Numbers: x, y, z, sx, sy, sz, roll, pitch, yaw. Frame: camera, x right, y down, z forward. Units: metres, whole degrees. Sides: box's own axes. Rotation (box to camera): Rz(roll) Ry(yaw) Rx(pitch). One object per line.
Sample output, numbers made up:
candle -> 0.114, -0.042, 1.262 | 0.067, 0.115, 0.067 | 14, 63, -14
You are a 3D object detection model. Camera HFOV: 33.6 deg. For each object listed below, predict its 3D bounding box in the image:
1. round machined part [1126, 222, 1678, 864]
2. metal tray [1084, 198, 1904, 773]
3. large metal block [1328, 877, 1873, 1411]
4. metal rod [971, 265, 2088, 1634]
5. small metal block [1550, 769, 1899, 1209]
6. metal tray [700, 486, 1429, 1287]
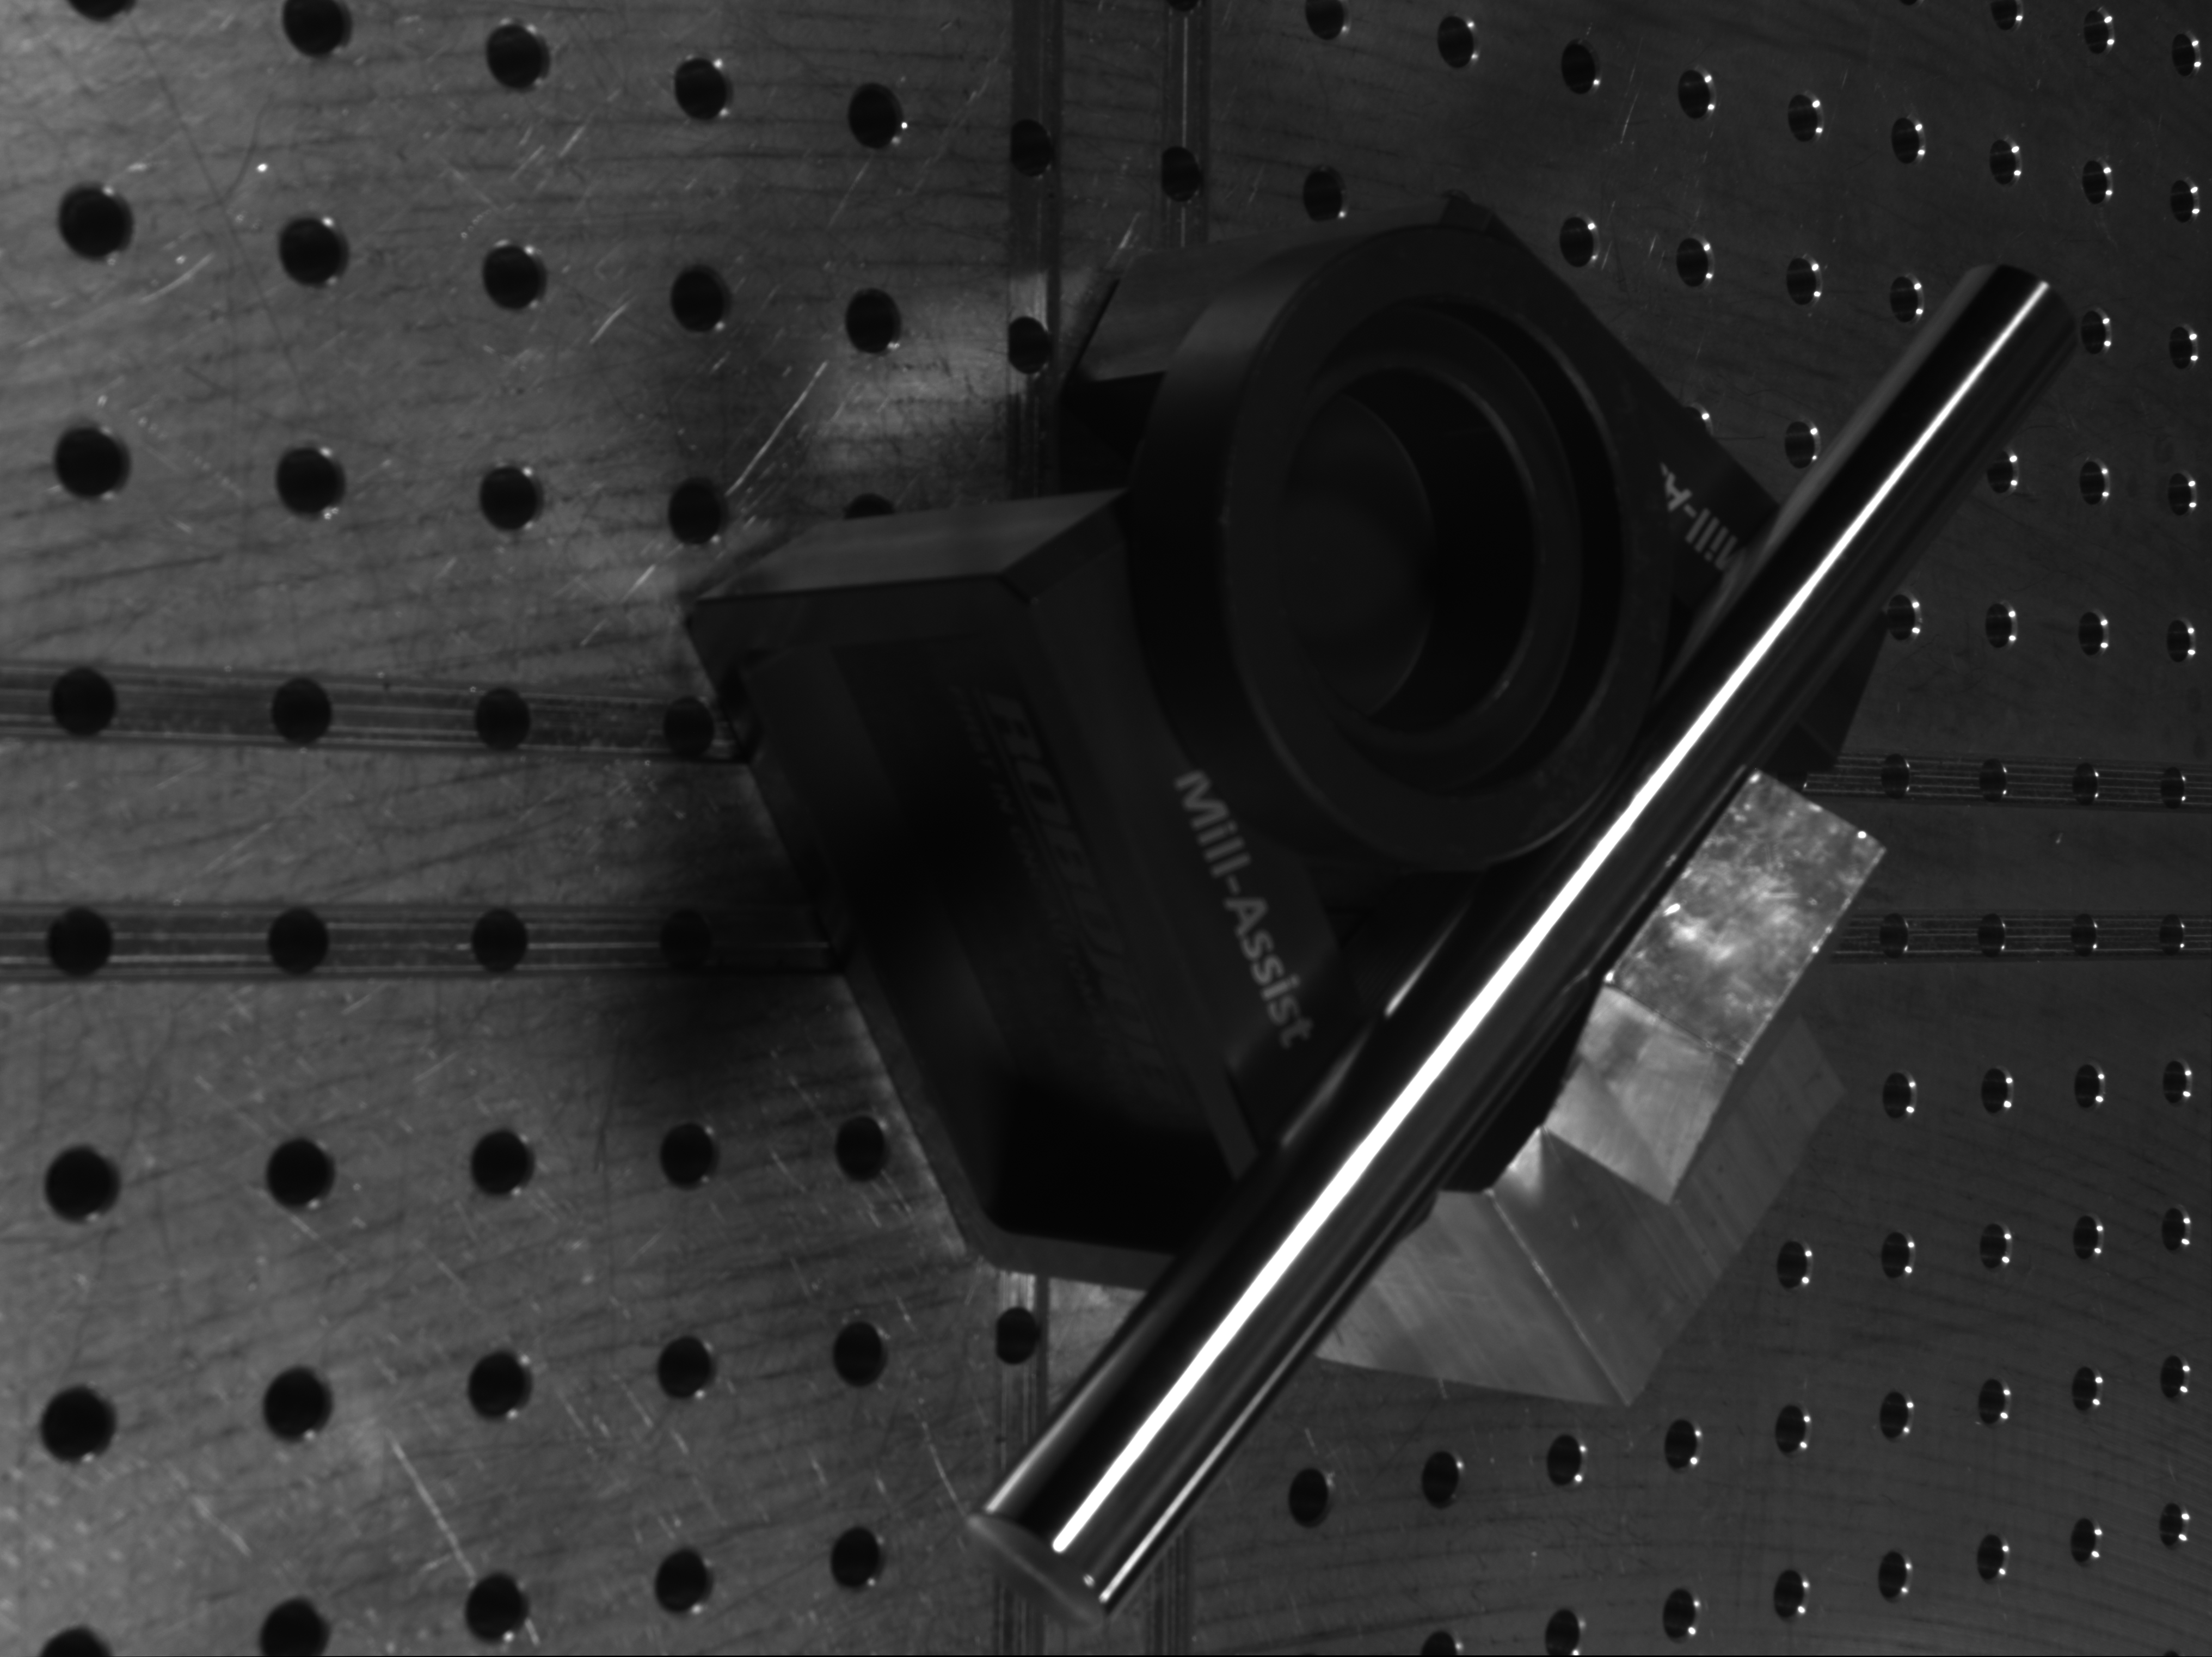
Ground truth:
round machined part -> 0.042, -0.043, 0.575 | 0.098, 0.042, 0.098 | 0, 90, -40
metal tray -> 0.070, -0.057, 0.655 | 0.130, 0.090, 0.030 | 39, 67, -33
large metal block -> 0.078, 0.054, 0.665 | 0.080, 0.080, 0.050 | -49, 119, -29
metal rod -> 0.078, 0.007, 0.588 | 0.300, 0.025, 0.025 | -48, 118, -29
small metal block -> 0.101, 0.027, 0.602 | 0.025, 0.050, 0.050 | 33, 61, 14
metal tray -> -0.006, 0.012, 0.593 | 0.030, 0.090, 0.130 | -36, 112, -34
